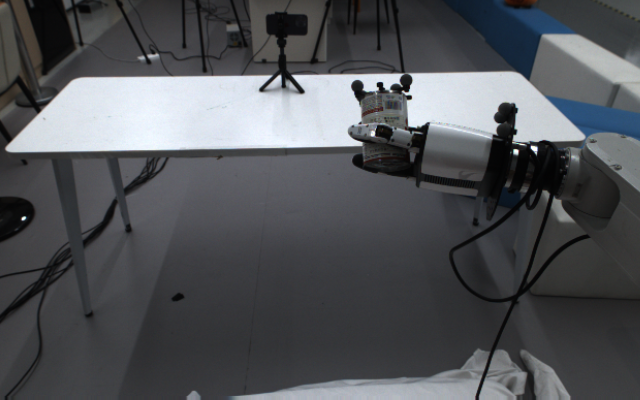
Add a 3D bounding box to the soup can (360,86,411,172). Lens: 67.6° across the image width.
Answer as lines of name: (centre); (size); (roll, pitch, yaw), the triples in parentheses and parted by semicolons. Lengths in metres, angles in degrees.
soup can: (0.093, -0.096, 0.685); (0.067, 0.101, 0.067); (-1, -9, 0)
